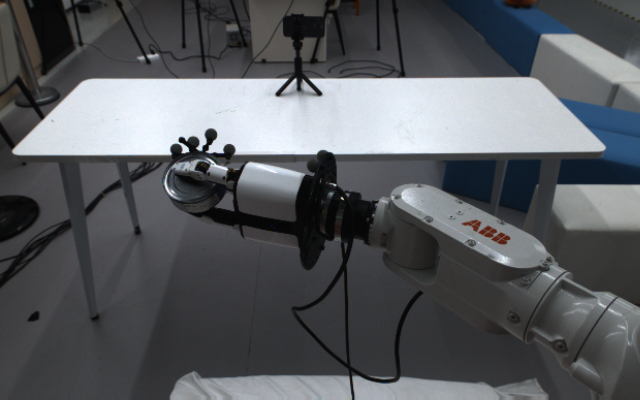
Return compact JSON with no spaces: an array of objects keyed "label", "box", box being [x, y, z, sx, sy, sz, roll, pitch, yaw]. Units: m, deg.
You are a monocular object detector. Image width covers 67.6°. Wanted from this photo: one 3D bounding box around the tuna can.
[{"label":"tuna can","box":[-0.173,-0.023,0.687,0.085,0.034,0.085,-1,57,2]}]
